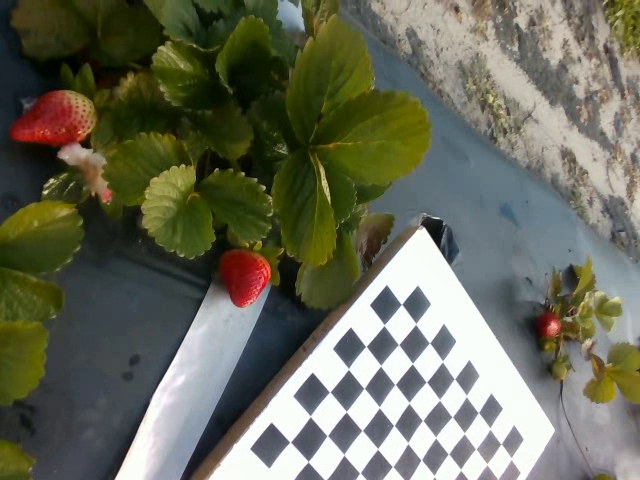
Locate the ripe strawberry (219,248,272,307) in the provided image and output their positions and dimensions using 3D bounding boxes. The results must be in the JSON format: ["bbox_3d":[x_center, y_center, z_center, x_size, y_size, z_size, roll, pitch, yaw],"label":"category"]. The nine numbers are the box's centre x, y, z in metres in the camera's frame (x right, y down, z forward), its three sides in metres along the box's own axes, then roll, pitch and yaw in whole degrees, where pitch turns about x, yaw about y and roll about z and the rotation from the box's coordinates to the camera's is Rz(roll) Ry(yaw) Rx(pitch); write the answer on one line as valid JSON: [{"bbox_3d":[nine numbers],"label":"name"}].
[{"bbox_3d":[-0.050,0.030,0.413,0.035,0.055,0.050,-8,-47,41],"label":"ripe strawberry"}]
